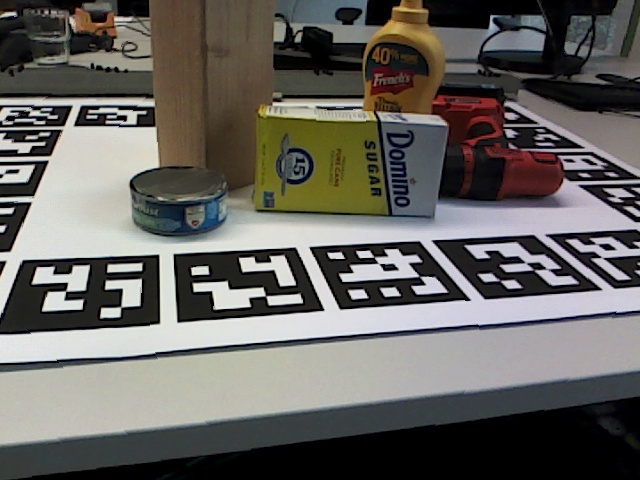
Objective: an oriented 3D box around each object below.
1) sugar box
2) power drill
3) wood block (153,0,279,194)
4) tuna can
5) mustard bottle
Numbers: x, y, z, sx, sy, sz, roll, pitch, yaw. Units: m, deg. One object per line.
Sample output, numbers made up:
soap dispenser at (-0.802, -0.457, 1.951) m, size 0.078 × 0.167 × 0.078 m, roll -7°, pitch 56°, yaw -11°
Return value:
sugar box at (0.034, -0.073, 0.598) m, size 0.176 × 0.093 × 0.045 m, roll 4°, pitch 26°, yaw -4°
power drill at (0.150, -0.110, 0.712) m, size 0.184 × 0.057 × 0.187 m, roll 3°, pitch 36°, yaw -2°
wood block at (-0.107, -0.158, 0.630) m, size 0.090 × 0.206 × 0.090 m, roll -21°, pitch 39°, yaw -38°
tuna can at (-0.127, -0.040, 0.565) m, size 0.086 × 0.033 × 0.086 m, roll 4°, pitch 30°, yaw -3°
mustard bottle at (0.096, -0.184, 0.715) m, size 0.097 × 0.191 × 0.058 m, roll 24°, pitch 35°, yaw 29°
